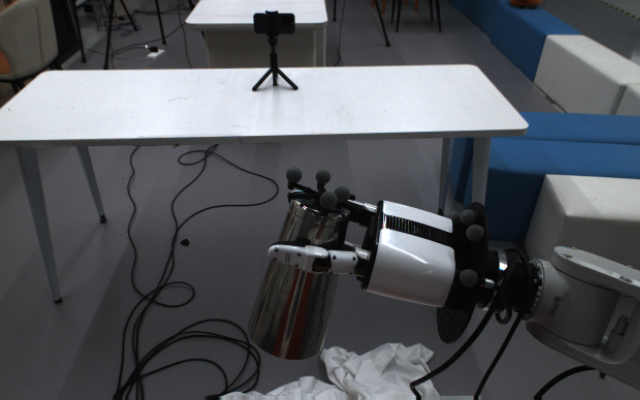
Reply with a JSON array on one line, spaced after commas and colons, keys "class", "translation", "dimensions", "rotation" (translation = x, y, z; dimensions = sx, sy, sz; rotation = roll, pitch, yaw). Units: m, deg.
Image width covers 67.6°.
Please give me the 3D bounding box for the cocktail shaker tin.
[{"class": "cocktail shaker tin", "translation": [-0.017, 0.080, 0.551], "dimensions": [0.093, 0.170, 0.093], "rotation": [14, 18, -5]}]
